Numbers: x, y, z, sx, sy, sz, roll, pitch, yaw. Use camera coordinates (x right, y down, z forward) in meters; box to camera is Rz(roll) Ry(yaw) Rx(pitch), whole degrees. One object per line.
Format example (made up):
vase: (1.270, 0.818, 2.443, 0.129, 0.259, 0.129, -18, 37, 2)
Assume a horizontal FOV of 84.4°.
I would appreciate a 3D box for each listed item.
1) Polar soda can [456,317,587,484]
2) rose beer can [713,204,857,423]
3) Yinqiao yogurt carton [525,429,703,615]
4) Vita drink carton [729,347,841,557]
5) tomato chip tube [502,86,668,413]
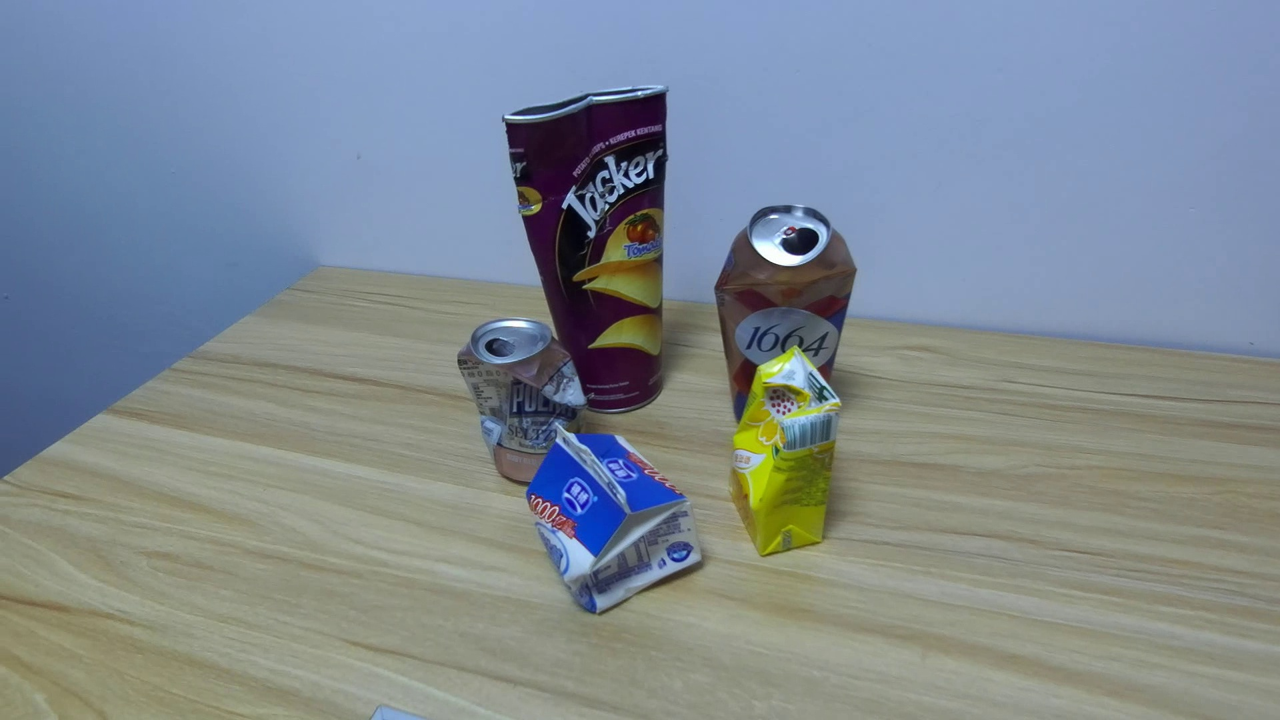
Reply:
Polar soda can: (-0.078, 0.029, 0.493, 0.074, 0.114, 0.070, -19, 41, -14)
rose beer can: (0.099, -0.023, 0.491, 0.069, 0.168, 0.069, -24, 42, -22)
Yinqiao yogurt carton: (-0.021, 0.088, 0.410, 0.080, 0.097, 0.074, -30, 40, -19)
Vita drink carton: (0.084, 0.055, 0.431, 0.046, 0.110, 0.071, -9, 33, -8)
tomato chip tube: (-0.028, -0.073, 0.526, 0.090, 0.236, 0.078, 9, 37, 18)
